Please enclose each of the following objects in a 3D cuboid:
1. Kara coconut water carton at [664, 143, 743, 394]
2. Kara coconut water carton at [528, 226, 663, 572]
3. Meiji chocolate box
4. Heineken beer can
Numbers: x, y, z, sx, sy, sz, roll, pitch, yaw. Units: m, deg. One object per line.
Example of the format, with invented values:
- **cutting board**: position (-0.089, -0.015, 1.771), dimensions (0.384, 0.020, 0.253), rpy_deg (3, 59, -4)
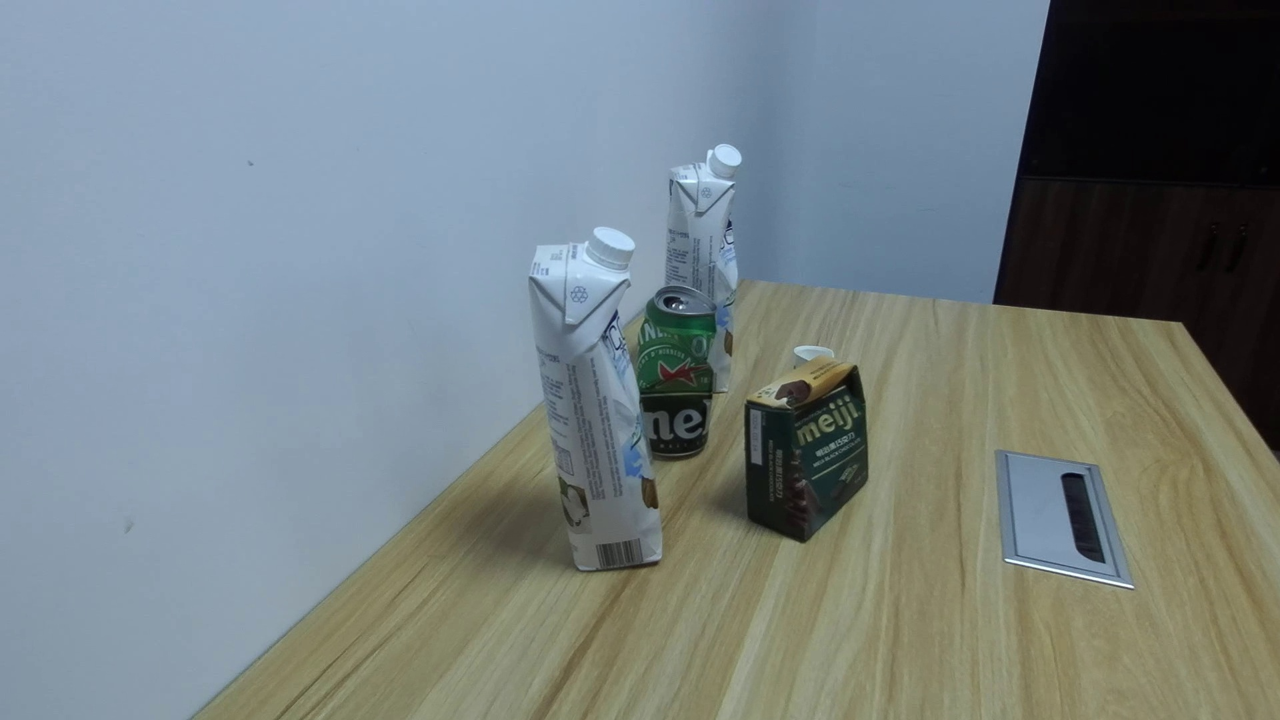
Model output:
- **Kara coconut water carton**: position (0.063, -0.091, 0.735), dimensions (0.078, 0.256, 0.083), rpy_deg (5, 26, 14)
- **Kara coconut water carton**: position (-0.028, 0.028, 0.502), dimensions (0.071, 0.244, 0.099), rpy_deg (-6, 28, 0)
- **Meiji chocolate box**: position (0.136, 0.069, 0.572), dimensions (0.058, 0.111, 0.113), rpy_deg (8, 23, 38)
- **Heineken beer can**: position (0.030, 0.014, 0.635), dimensions (0.078, 0.159, 0.067), rpy_deg (15, 34, 19)
